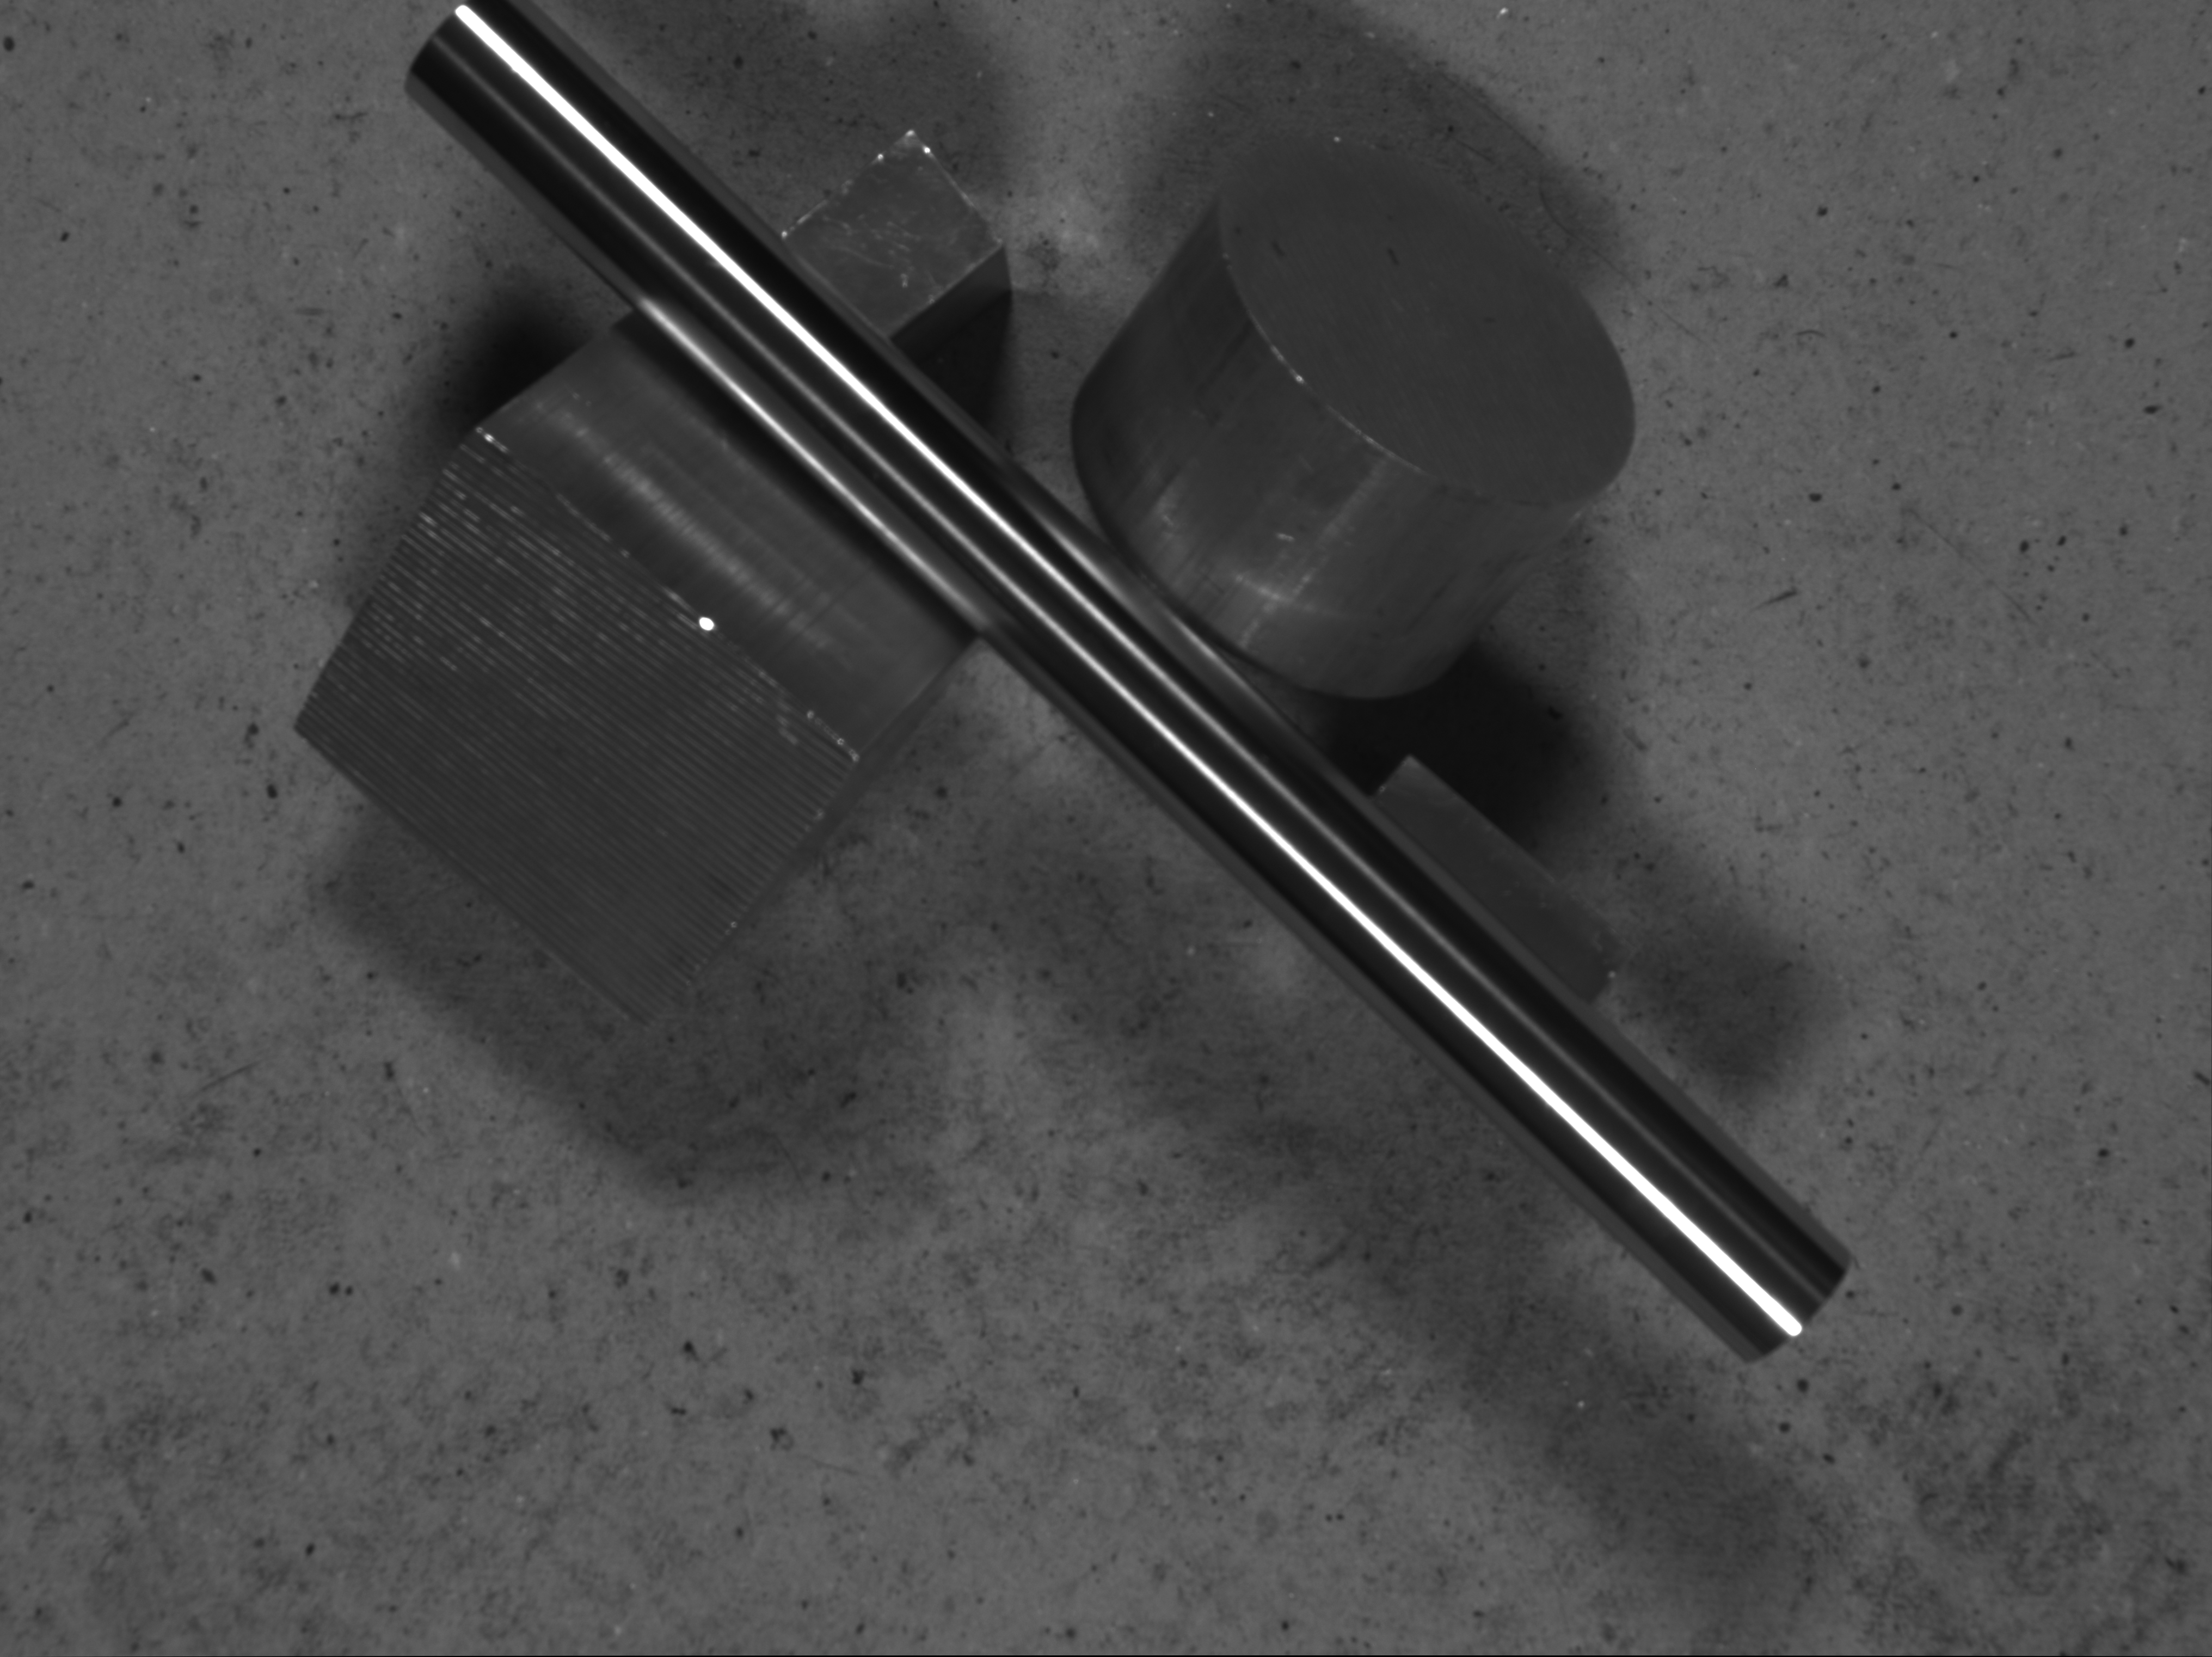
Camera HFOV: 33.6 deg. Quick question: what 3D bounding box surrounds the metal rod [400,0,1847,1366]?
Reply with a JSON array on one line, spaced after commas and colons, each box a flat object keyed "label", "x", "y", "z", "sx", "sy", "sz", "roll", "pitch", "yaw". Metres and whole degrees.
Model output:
[{"label": "metal rod", "x": 0.003, "y": -0.025, "z": 0.595, "sx": 0.300, "sy": 0.025, "sz": 0.025, "roll": 44, "pitch": 90, "yaw": 0}]

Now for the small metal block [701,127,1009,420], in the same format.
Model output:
[{"label": "small metal block", "x": -0.044, "y": -0.091, "z": 0.633, "sx": 0.050, "sy": 0.050, "sz": 0.025, "roll": -39, "pitch": 90, "yaw": 0}]

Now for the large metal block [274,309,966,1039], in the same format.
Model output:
[{"label": "large metal block", "x": -0.080, "y": -0.026, "z": 0.614, "sx": 0.080, "sy": 0.050, "sz": 0.080, "roll": 41, "pitch": 130, "yaw": -1}]

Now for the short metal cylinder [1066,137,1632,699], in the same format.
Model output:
[{"label": "short metal cylinder", "x": 0.040, "y": -0.069, "z": 0.612, "sx": 0.080, "sy": 0.080, "sz": 0.050, "roll": 39, "pitch": 131, "yaw": 0}]

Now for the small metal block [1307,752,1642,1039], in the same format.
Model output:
[{"label": "small metal block", "x": 0.061, "y": 0.013, "z": 0.630, "sx": 0.050, "sy": 0.050, "sz": 0.025, "roll": 41, "pitch": 90, "yaw": 0}]
